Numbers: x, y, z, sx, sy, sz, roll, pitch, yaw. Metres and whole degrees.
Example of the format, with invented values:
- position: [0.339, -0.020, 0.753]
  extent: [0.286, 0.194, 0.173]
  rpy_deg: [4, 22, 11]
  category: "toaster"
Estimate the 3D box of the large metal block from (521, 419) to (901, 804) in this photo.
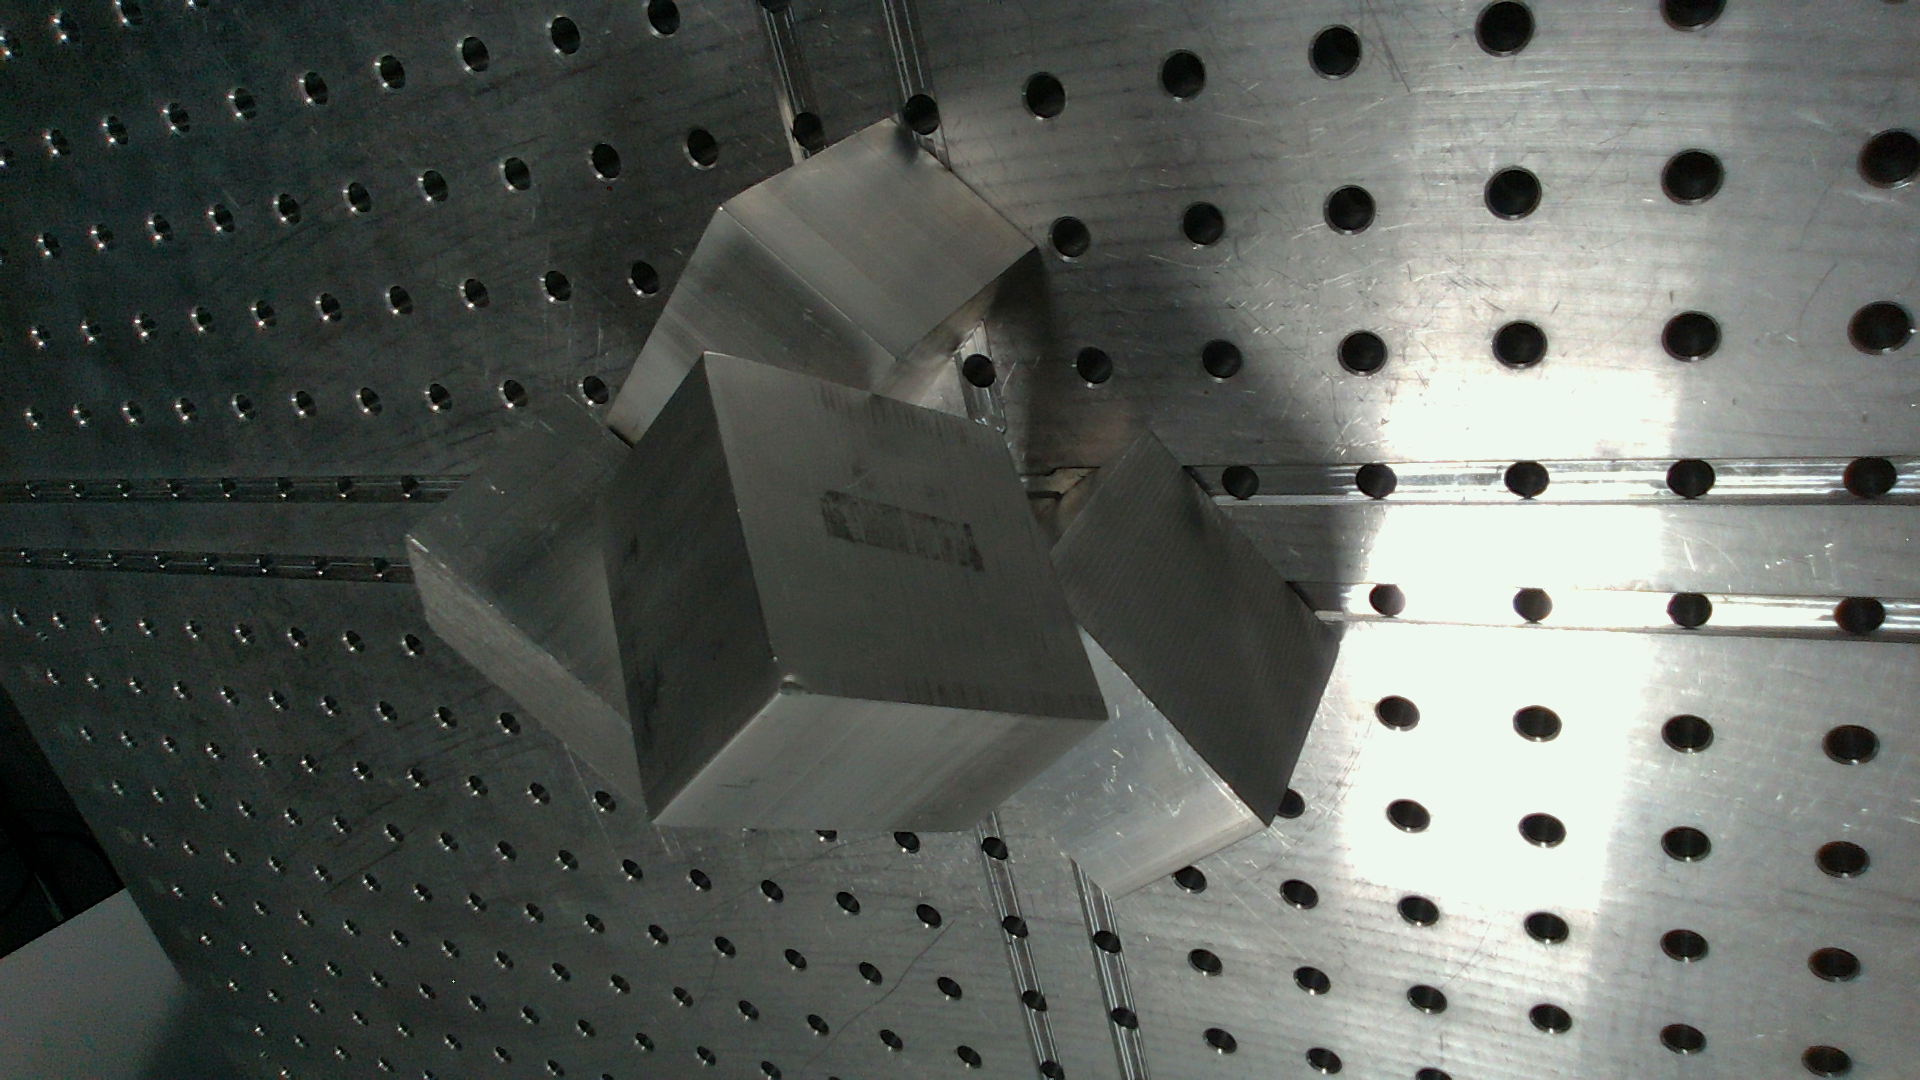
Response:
- position: [-0.080, 0.024, 0.437]
  extent: [0.080, 0.050, 0.080]
  rpy_deg: [43, 129, -1]
  category: "large metal block"

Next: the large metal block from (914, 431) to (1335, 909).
- position: [0.043, 0.032, 0.355]
  extent: [0.080, 0.080, 0.050]
  rpy_deg: [47, 129, -5]
  category: "large metal block"

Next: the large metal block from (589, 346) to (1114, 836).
- position: [-0.025, 0.014, 0.291]
  extent: [0.050, 0.080, 0.080]
  rpy_deg: [-45, 50, 35]
  category: "large metal block"

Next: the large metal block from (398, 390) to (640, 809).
- position: [-0.092, 0.020, 0.357]
  extent: [0.080, 0.050, 0.080]
  rpy_deg: [41, 155, 1]
  category: "large metal block"

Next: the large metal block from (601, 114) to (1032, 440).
- position: [-0.037, -0.050, 0.347]
  extent: [0.050, 0.080, 0.080]
  rpy_deg: [41, 129, 0]
  category: "large metal block"
